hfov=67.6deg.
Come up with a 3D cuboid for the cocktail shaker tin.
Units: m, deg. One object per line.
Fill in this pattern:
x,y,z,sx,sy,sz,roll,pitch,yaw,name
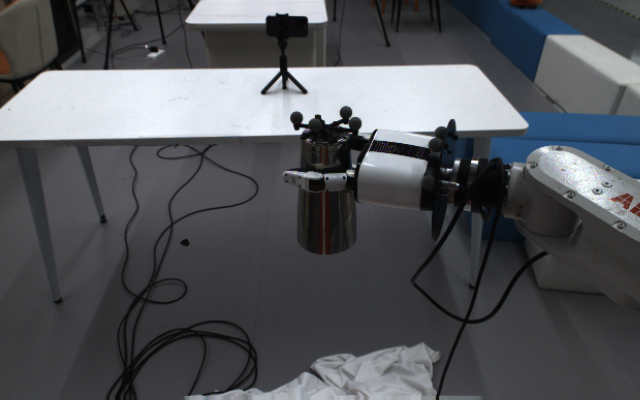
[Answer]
0.012,-0.020,0.696,0.093,0.170,0.093,-1,32,1,cocktail shaker tin
